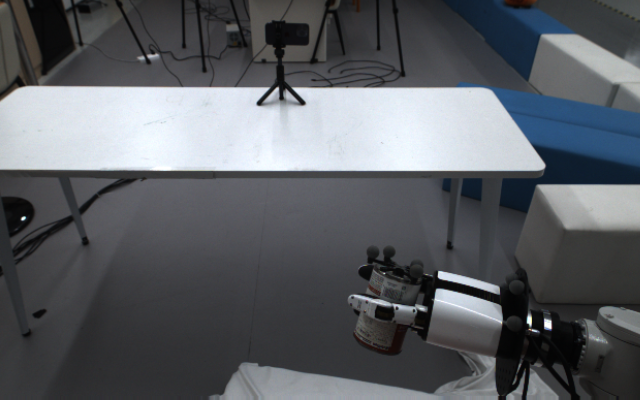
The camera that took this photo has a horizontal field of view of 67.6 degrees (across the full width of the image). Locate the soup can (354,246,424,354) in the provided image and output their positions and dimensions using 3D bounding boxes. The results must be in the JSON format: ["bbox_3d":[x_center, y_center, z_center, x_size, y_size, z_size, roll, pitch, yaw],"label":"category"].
[{"bbox_3d":[0.092,0.143,0.642,0.067,0.101,0.067,15,7,-2],"label":"soup can"}]
